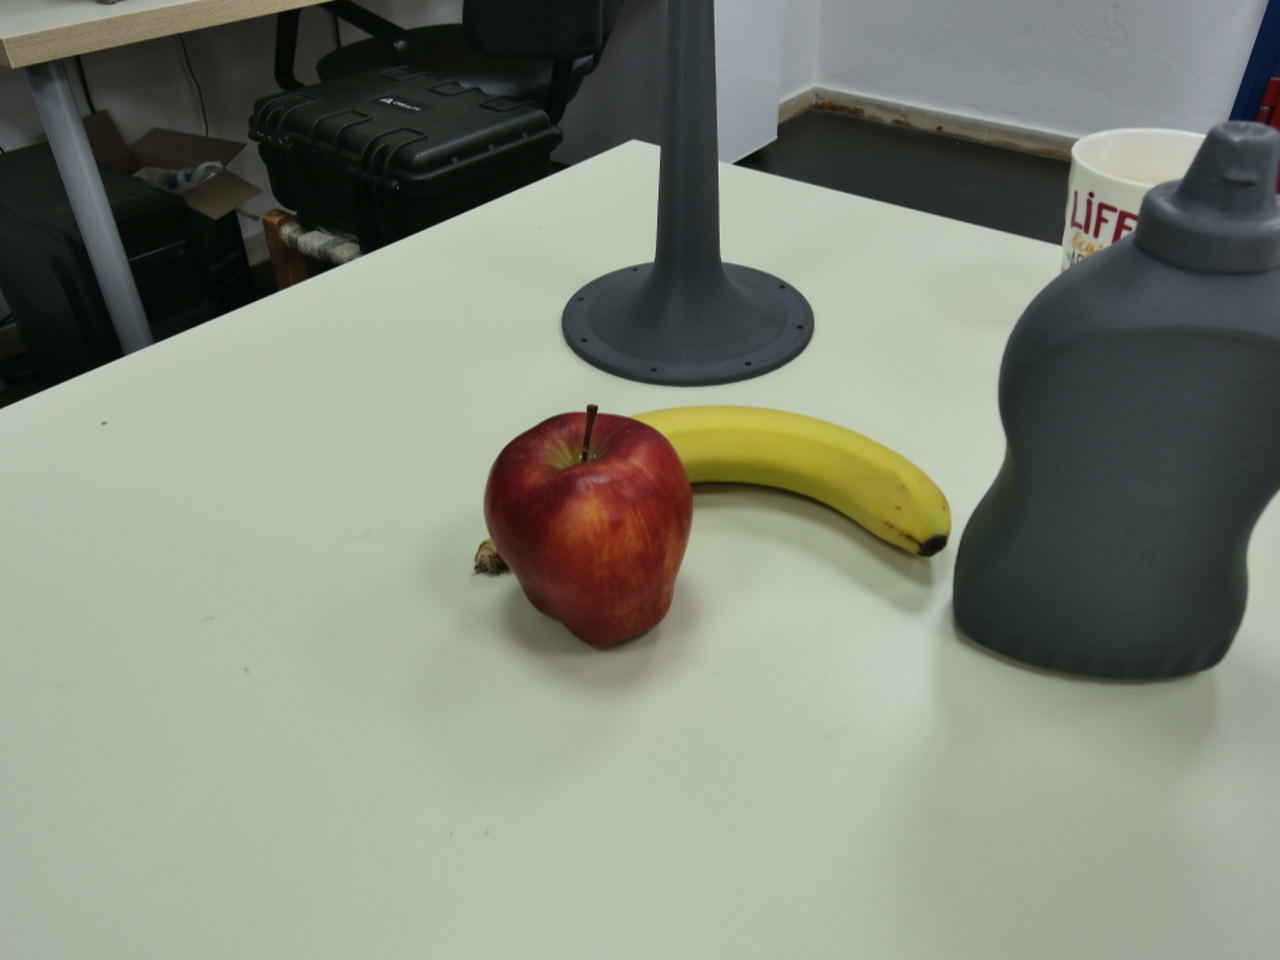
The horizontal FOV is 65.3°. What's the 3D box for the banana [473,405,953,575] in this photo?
[{"bbox_3d":[0.030,0.000,0.440,0.196,0.041,0.094,2,36,4],"label":"banana"}]
